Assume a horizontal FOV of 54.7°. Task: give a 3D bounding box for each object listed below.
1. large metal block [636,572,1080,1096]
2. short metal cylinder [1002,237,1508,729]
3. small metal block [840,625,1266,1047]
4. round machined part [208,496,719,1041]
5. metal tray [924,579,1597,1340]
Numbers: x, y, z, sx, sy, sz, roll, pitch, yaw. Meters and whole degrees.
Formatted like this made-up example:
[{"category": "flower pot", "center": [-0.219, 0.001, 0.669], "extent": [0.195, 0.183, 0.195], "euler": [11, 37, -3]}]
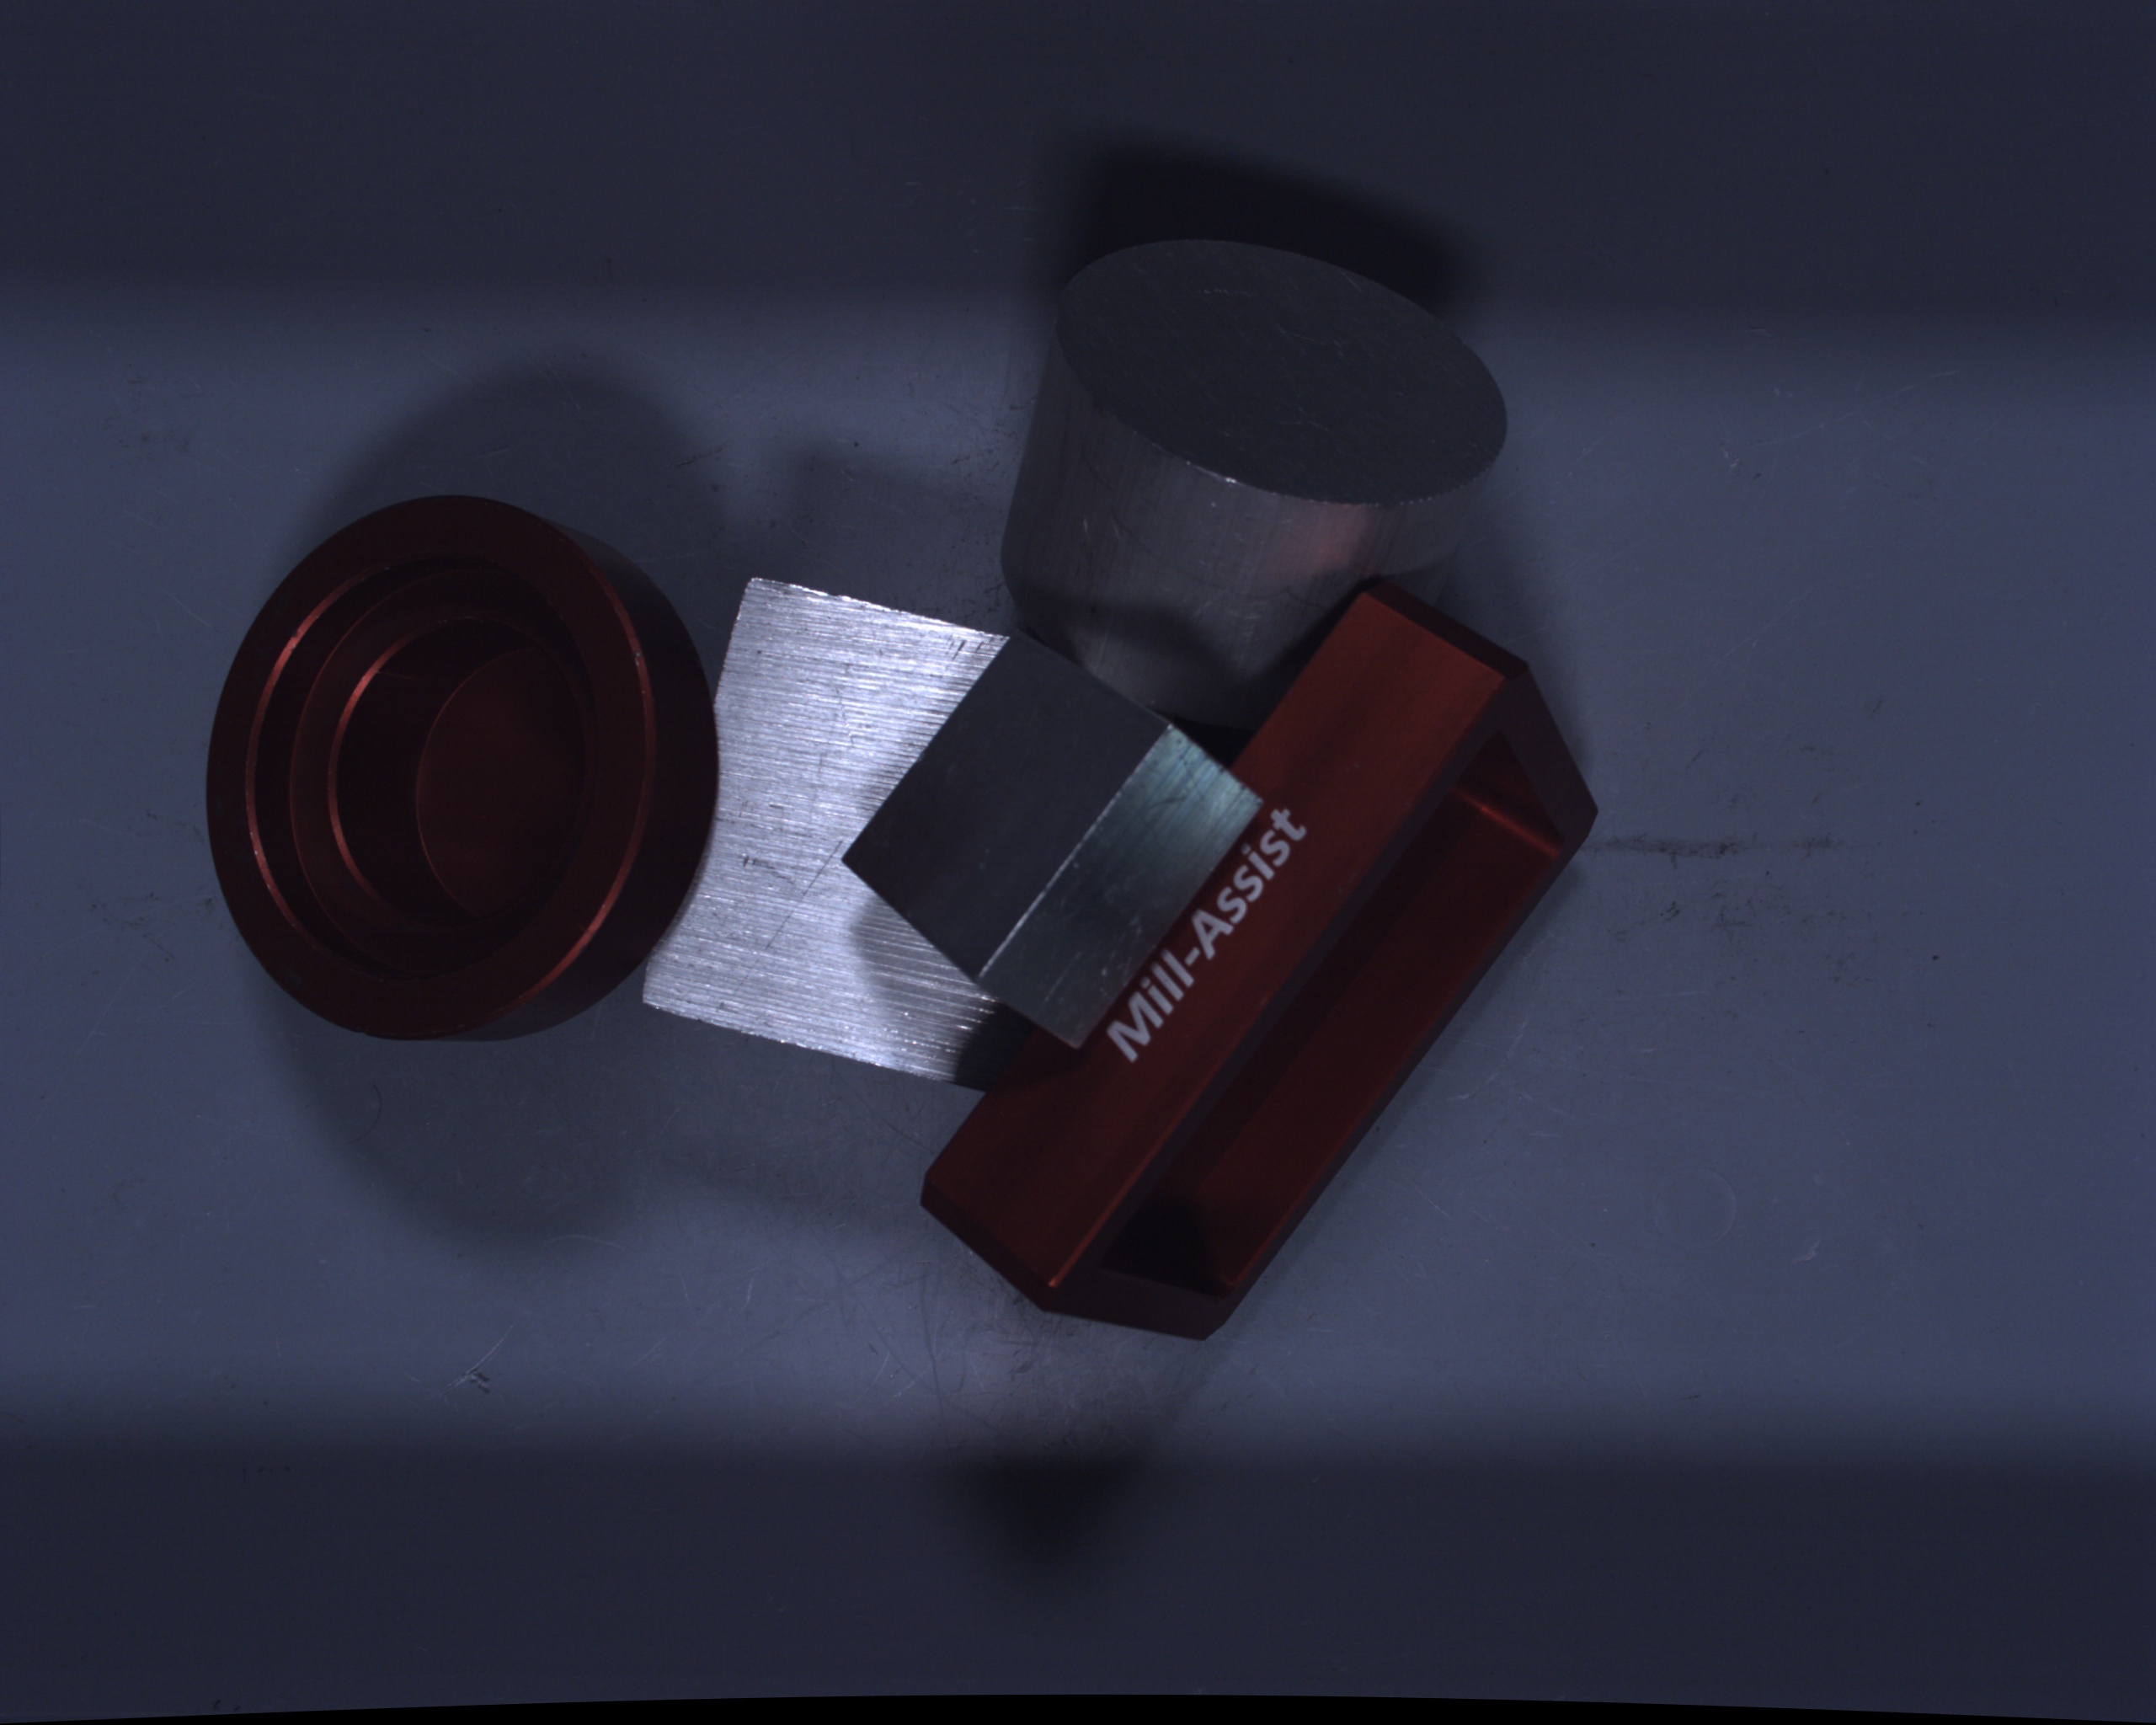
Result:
[{"category": "large metal block", "center": [-0.030, -0.003, 0.397], "extent": [0.080, 0.050, 0.080], "euler": [15, 90, -1]}, {"category": "short metal cylinder", "center": [0.030, -0.069, 0.376], "extent": [0.080, 0.080, 0.050], "euler": [16, 134, -1]}, {"category": "small metal block", "center": [-0.005, -0.006, 0.346], "extent": [0.025, 0.050, 0.050], "euler": [37, 90, -39]}, {"category": "round machined part", "center": [-0.109, -0.016, 0.388], "extent": [0.098, 0.042, 0.097], "euler": [-2, 84, 22]}, {"category": "metal tray", "center": [0.038, 0.023, 0.377], "extent": [0.030, 0.090, 0.130], "euler": [36, 89, 27]}]
